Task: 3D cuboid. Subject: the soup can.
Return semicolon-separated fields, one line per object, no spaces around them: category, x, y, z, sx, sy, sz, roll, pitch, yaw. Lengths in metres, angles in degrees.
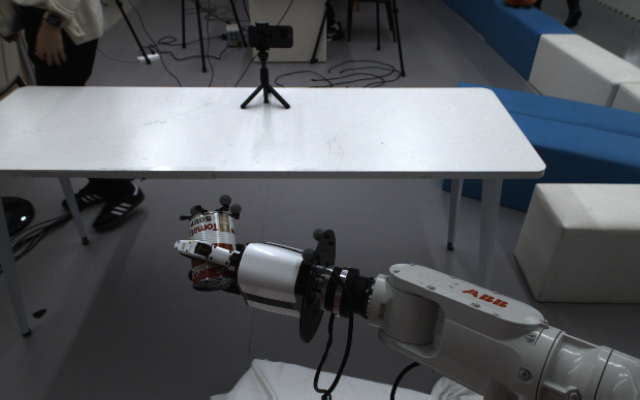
soup can;-0.155;0.078;0.710;0.067;0.067;0.101;-6;67;-12
